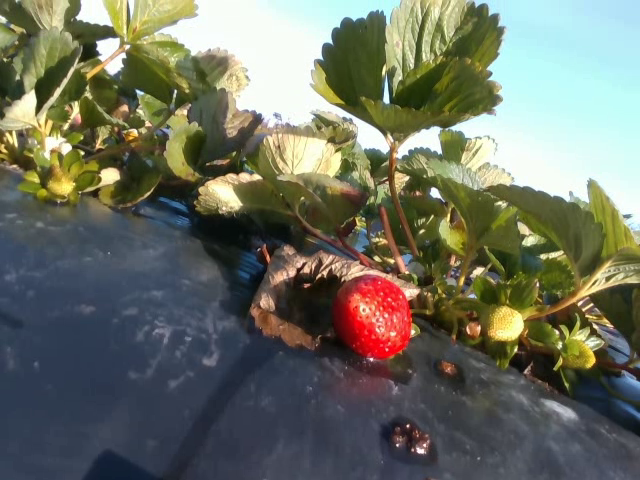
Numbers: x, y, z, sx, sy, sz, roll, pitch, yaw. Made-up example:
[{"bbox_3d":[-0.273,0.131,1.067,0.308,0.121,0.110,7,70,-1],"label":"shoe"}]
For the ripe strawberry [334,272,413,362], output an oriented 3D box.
[{"bbox_3d":[0.017,0.029,0.233,0.046,0.038,0.054,41,10,26],"label":"ripe strawberry"}]
